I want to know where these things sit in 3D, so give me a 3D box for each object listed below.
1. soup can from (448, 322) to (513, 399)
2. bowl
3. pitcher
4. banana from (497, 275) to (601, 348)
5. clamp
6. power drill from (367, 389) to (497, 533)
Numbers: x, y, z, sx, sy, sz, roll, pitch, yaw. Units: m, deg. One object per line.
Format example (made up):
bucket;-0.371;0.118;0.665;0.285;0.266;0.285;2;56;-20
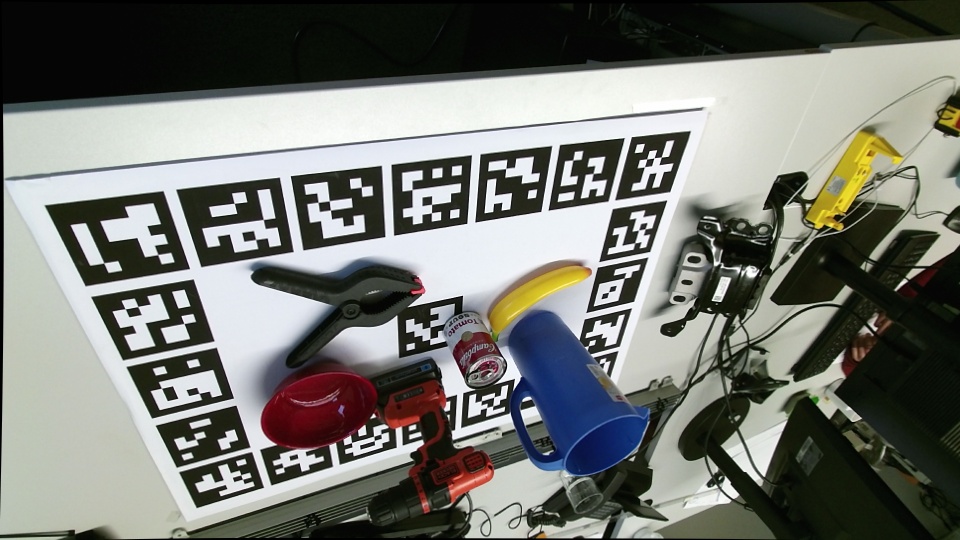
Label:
soup can;0.000;0.137;0.812;0.068;0.101;0.068;-17;138;-16
bowl;-0.220;0.198;0.772;0.162;0.055;0.161;-14;128;-19
pitcher;0.136;0.204;0.838;0.189;0.241;0.133;-30;135;-5
banana;0.104;0.055;0.850;0.198;0.038;0.074;-30;141;-2
clamp;-0.158;0.058;0.702;0.203;0.036;0.165;-13;125;-19
power drill;-0.090;0.271;0.782;0.185;0.186;0.057;-15;129;-17
